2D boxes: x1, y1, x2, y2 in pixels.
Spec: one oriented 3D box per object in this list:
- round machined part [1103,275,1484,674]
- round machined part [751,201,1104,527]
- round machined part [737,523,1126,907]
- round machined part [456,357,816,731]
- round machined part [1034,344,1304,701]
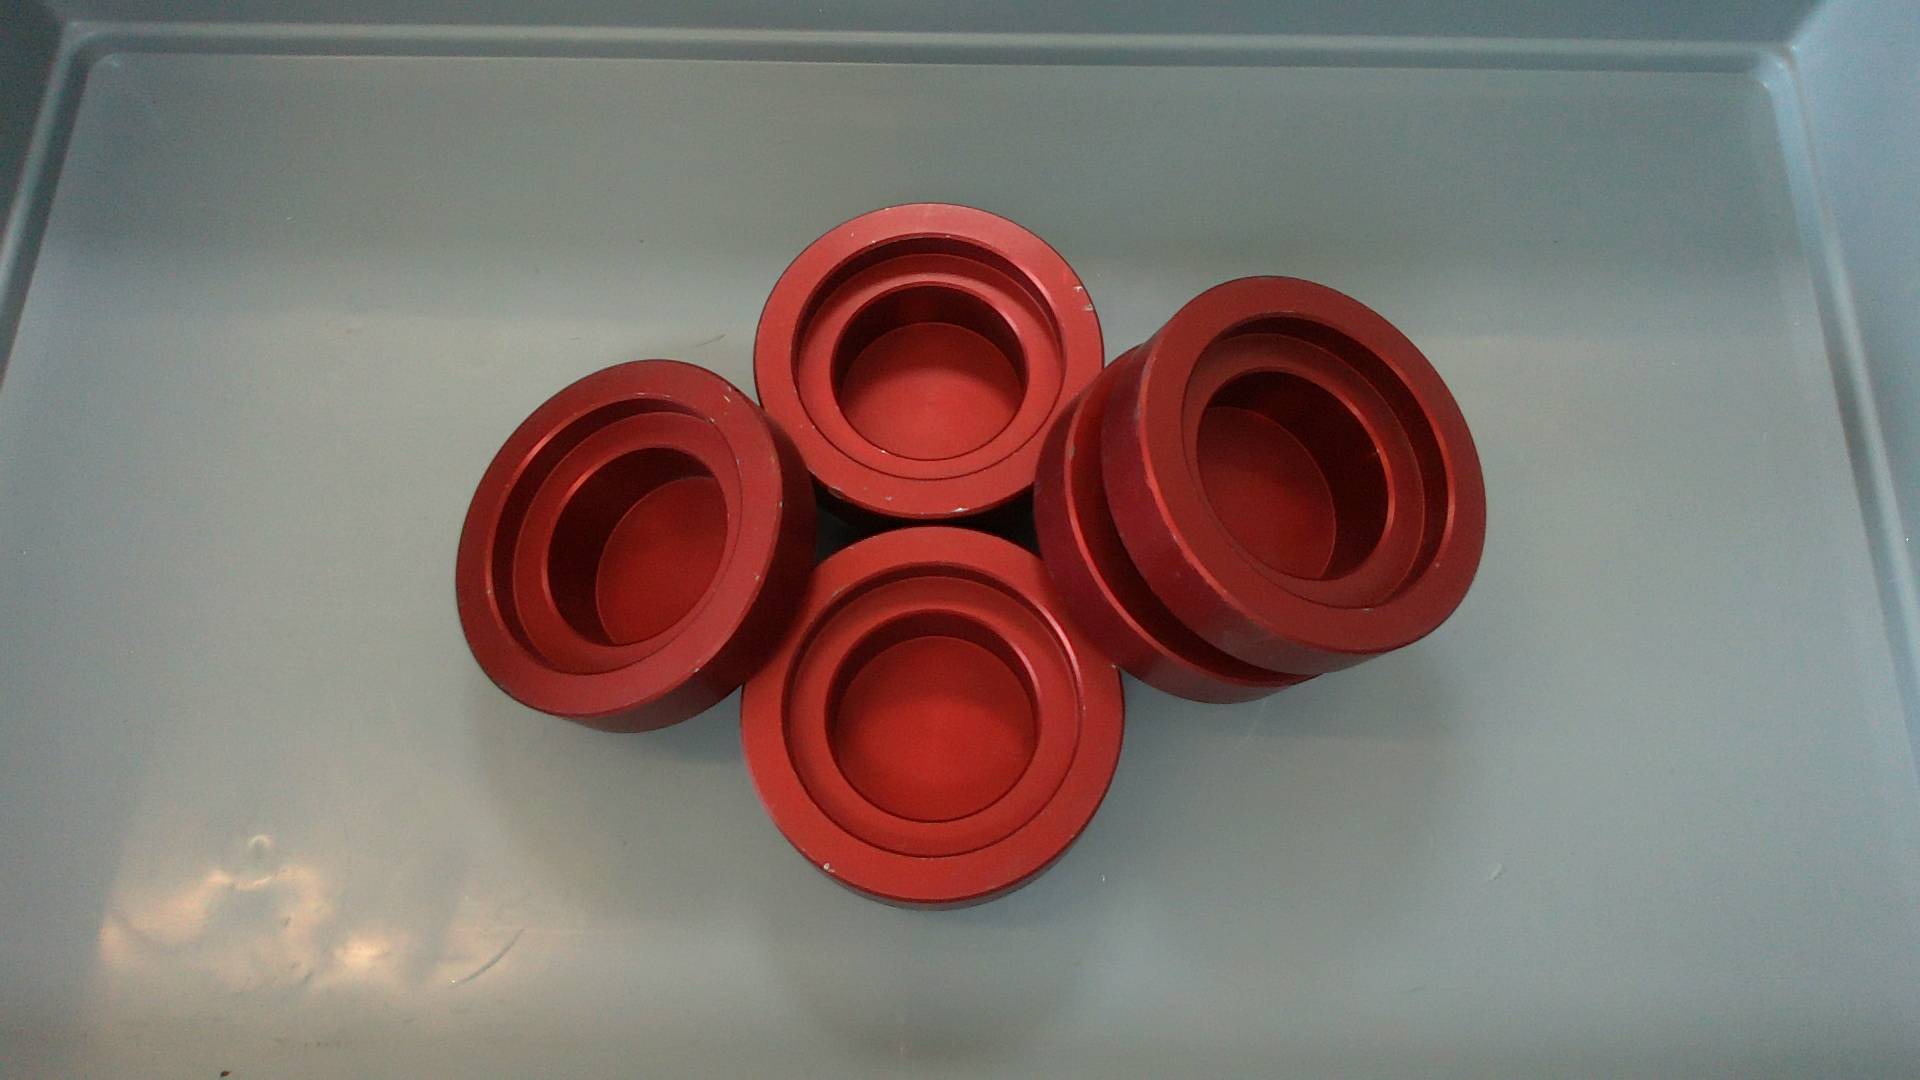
[{"bbox_3d":[0.079,-0.014,0.348,0.098,0.042,0.098,8,68,-21],"label":"round machined part"},{"bbox_3d":[-0.009,-0.045,0.400,0.098,0.042,0.098,0,70,0],"label":"round machined part"},{"bbox_3d":[-0.007,0.048,0.366,0.098,0.042,0.098,0,70,0],"label":"round machined part"},{"bbox_3d":[-0.082,0.004,0.372,0.098,0.042,0.098,-8,68,19],"label":"round machined part"},{"bbox_3d":[0.064,-0.003,0.374,0.098,0.042,0.098,8,68,-21],"label":"round machined part"}]
